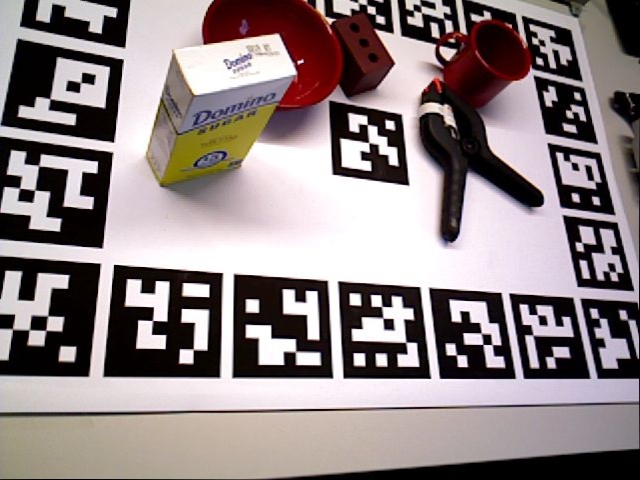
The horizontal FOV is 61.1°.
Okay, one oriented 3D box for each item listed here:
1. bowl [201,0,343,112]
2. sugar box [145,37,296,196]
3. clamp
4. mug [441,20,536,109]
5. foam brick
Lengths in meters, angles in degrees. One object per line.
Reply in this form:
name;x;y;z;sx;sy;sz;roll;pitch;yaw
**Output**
bowl;-0.057;-0.202;0.605;0.160;0.056;0.160;8;69;-21
sugar box;-0.096;-0.102;0.485;0.091;0.180;0.045;-22;82;-29
clamp;0.179;-0.108;0.673;0.162;0.037;0.203;-20;82;-25
mug;0.209;-0.233;0.706;0.117;0.083;0.092;31;63;-14
foam brick;0.046;-0.215;0.660;0.052;0.052;0.078;-25;83;-27
